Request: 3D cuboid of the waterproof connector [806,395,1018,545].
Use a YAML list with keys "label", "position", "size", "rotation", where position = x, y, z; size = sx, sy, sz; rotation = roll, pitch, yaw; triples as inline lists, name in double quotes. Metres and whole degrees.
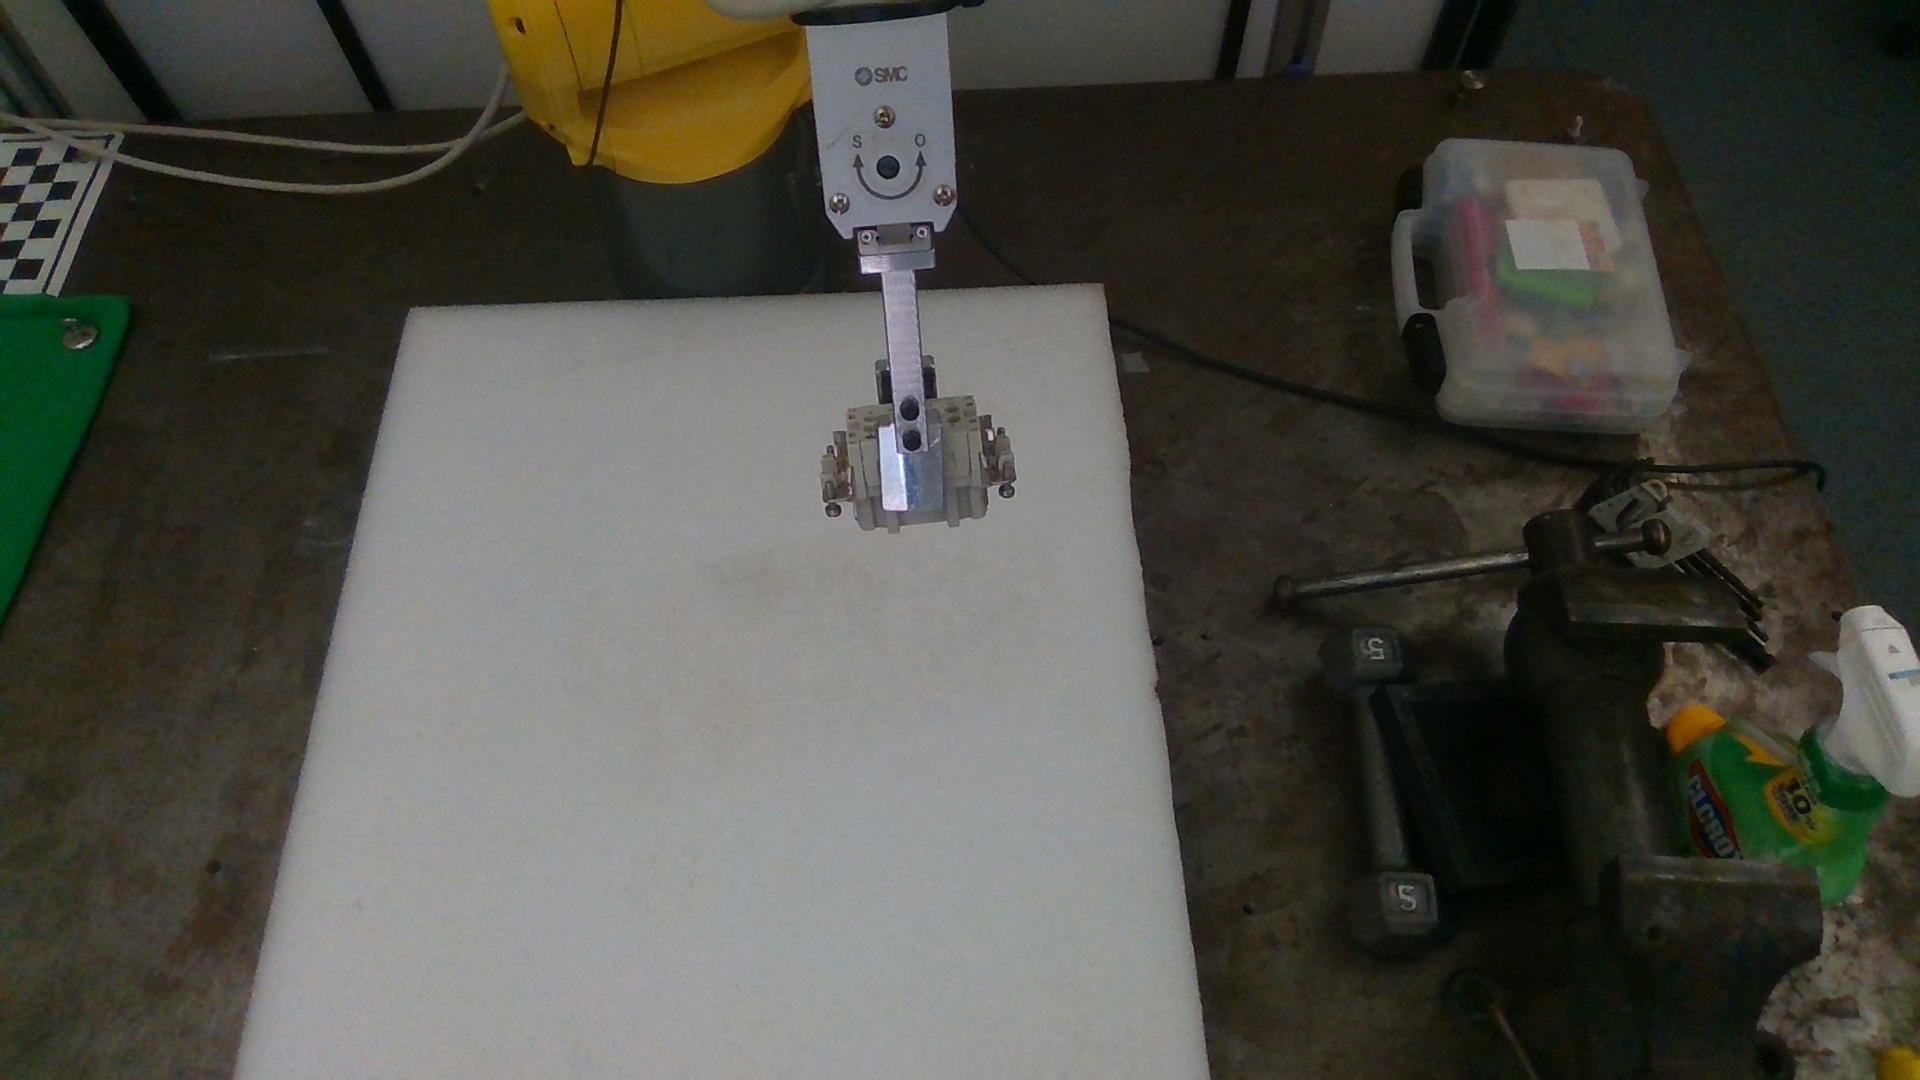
- label: "waterproof connector"
  position: [-0.016, -0.023, 0.459]
  size: [0.069, 0.038, 0.037]
  rotation: [-9, 25, -2]
